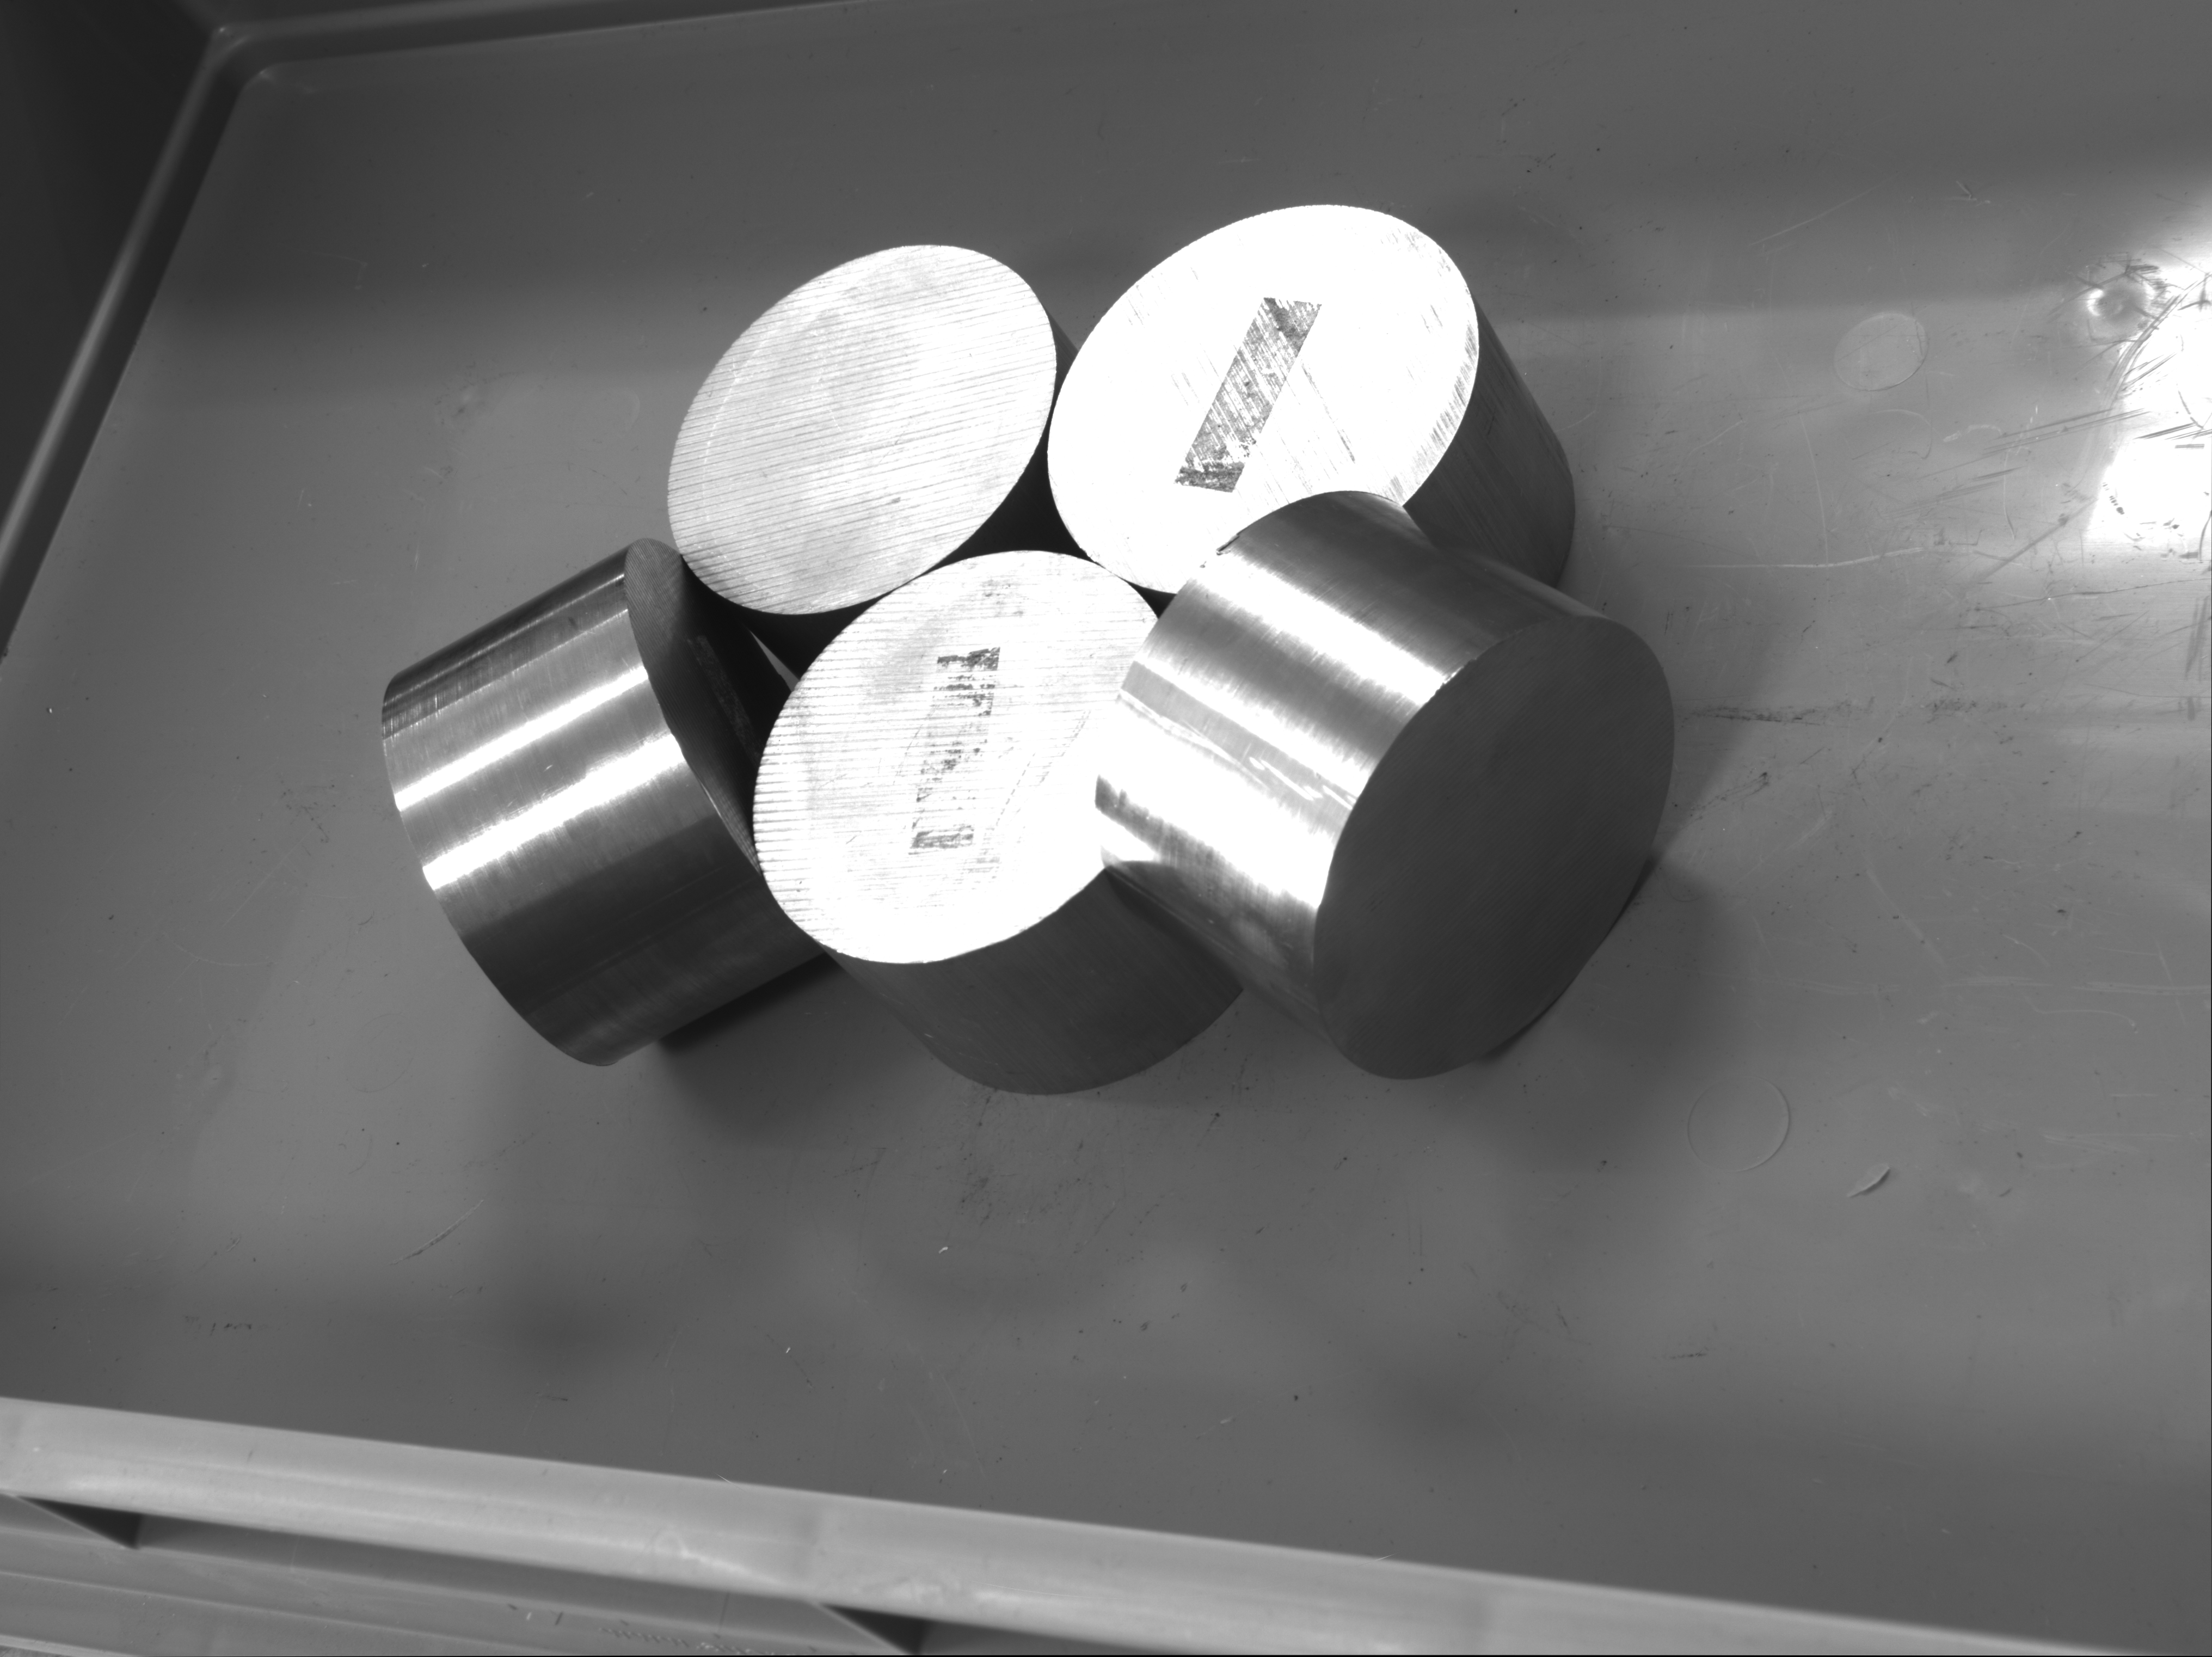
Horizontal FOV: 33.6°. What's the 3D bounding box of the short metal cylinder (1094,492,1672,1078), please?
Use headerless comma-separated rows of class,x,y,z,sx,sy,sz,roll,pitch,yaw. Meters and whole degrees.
short metal cylinder,0.045,-0.007,0.588,0.050,0.080,0.080,33,80,39

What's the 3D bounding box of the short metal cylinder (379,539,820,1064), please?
short metal cylinder,-0.086,-0.005,0.657,0.050,0.080,0.080,-27,52,12

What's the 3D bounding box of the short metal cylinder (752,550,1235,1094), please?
short metal cylinder,-0.014,-0.001,0.635,0.080,0.050,0.080,-14,56,21

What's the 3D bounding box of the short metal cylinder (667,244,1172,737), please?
short metal cylinder,-0.034,-0.061,0.684,0.080,0.050,0.080,-14,56,21

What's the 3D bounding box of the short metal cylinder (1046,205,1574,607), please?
short metal cylinder,0.036,-0.062,0.646,0.080,0.050,0.080,-14,56,21
